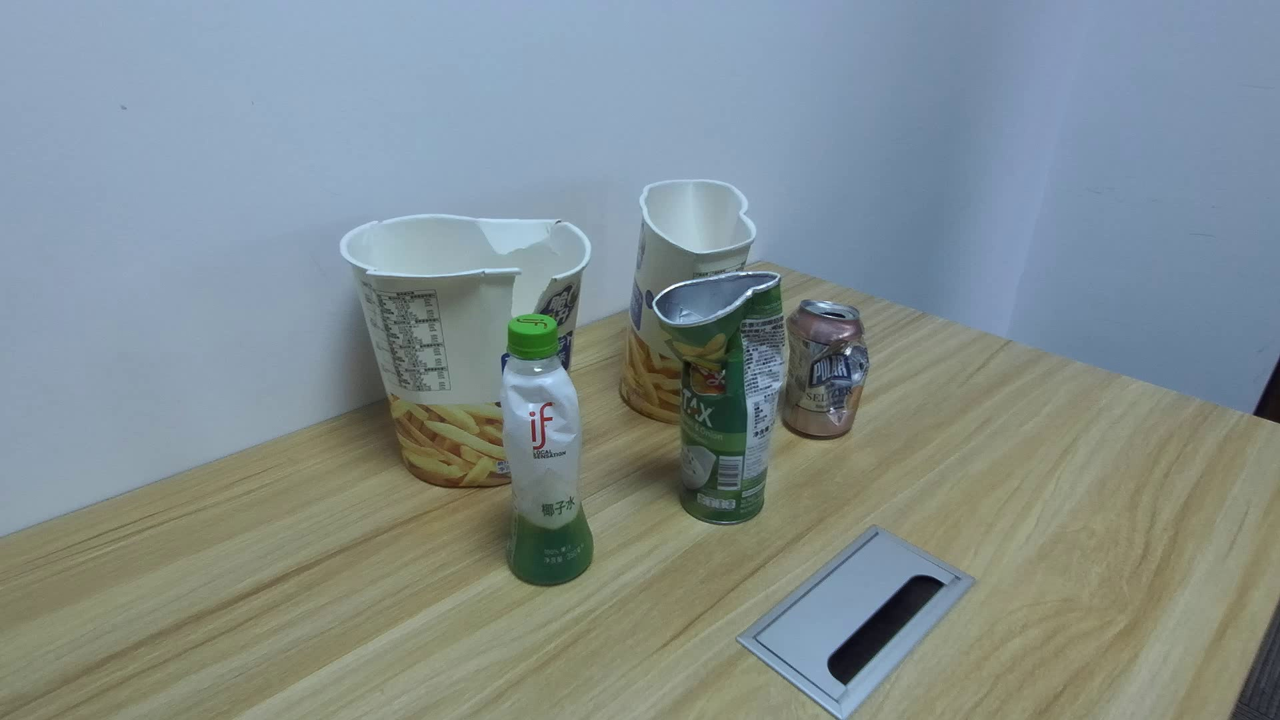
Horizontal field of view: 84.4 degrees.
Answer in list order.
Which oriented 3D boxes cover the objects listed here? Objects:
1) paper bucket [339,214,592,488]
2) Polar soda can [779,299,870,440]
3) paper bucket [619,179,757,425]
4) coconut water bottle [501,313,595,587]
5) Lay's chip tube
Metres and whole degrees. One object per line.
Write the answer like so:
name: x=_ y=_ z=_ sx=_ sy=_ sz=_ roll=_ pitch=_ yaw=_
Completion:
paper bucket: x=-0.140 y=-0.011 z=0.605 sx=0.202 sy=0.197 sz=0.145 roll=1 pitch=30 yaw=3
Polar soda can: x=0.172 y=0.006 z=0.655 sx=0.071 sy=0.122 sz=0.066 roll=-7 pitch=23 yaw=-15
paper bucket: x=0.053 y=-0.058 z=0.688 sx=0.148 sy=0.199 sz=0.217 roll=-13 pitch=30 yaw=-23
coconut water bottle: x=-0.065 y=0.061 z=0.478 sx=0.067 sy=0.187 sz=0.067 roll=0 pitch=25 yaw=1
Lay's chip tube: x=0.059 y=0.032 z=0.524 sx=0.078 sy=0.200 sz=0.071 roll=18 pitch=42 yaw=34
